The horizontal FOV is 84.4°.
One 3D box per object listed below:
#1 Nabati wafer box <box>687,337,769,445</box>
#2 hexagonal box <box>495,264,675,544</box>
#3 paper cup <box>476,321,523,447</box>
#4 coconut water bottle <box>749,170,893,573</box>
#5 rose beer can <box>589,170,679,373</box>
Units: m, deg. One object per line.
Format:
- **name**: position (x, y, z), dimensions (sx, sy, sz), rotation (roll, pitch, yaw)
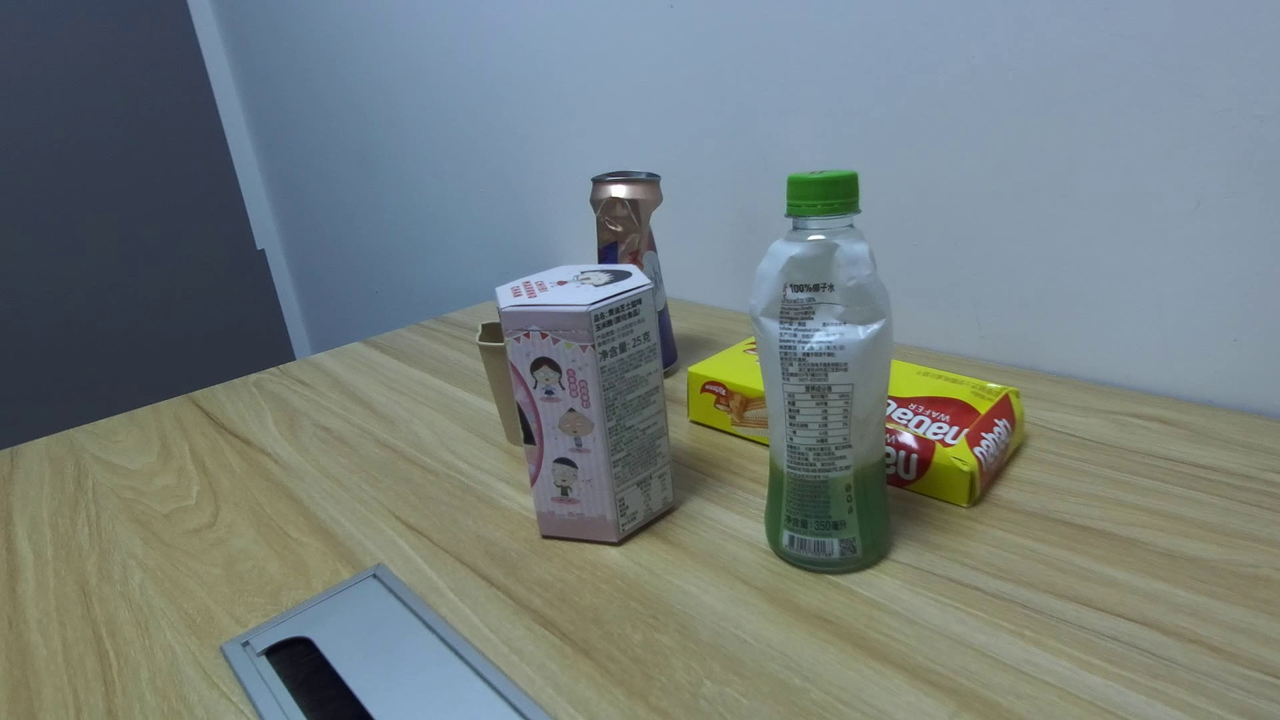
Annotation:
- **Nabati wafer box**: position (0.134, 0.029, 0.488), dimensions (0.202, 0.042, 0.097), rotation (16, -144, 43)
- **hexagonal box**: position (-0.029, 0.023, 0.397), dimensions (0.084, 0.136, 0.091), rotation (-10, -158, -11)
- **paper cup**: position (-0.091, 0.007, 0.575), dimensions (0.069, 0.081, 0.073), rotation (-7, -155, -5)
- **coconut water bottle**: position (0.090, 0.007, 0.338), dimensions (0.067, 0.187, 0.067), rotation (-5, -161, 2)
- **rose beer can**: position (-0.005, -0.067, 0.582), dimensions (0.065, 0.167, 0.076), rotation (7, -159, 23)
